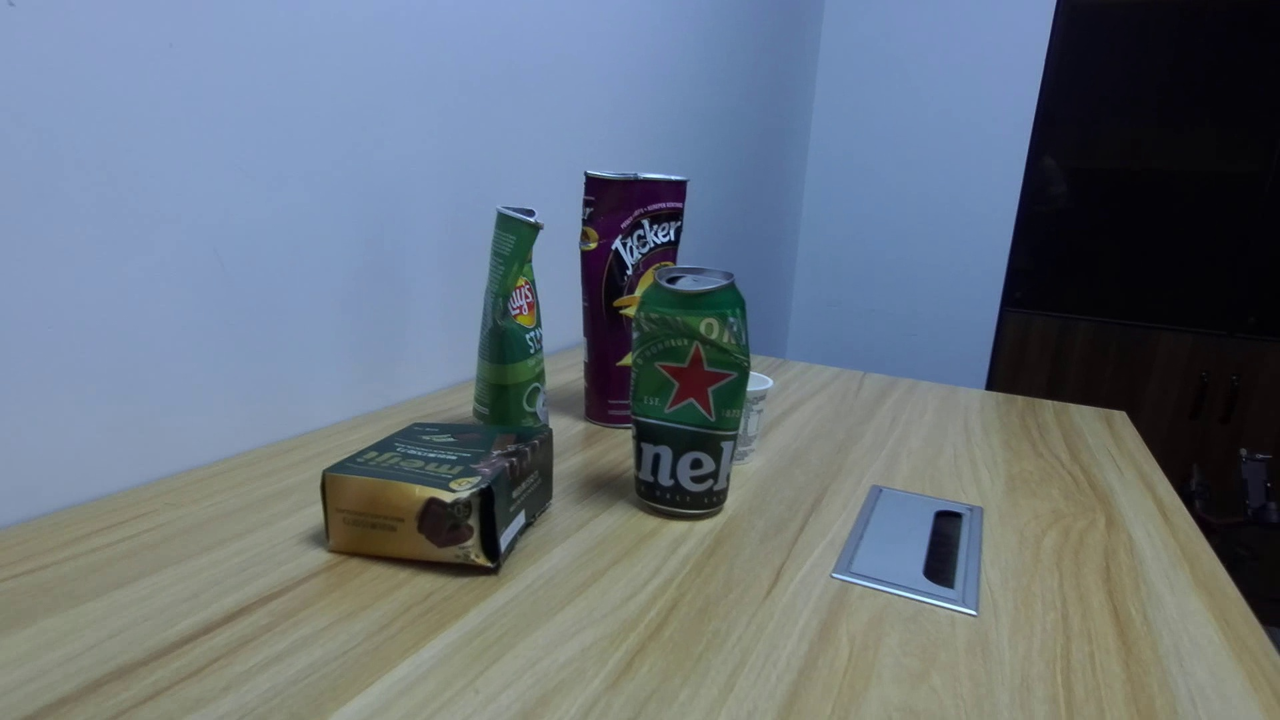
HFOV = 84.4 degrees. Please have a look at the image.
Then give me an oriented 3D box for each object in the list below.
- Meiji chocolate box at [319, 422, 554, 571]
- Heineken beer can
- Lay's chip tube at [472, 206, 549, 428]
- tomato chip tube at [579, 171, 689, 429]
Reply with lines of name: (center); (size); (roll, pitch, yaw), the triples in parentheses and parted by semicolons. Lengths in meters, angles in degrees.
Meiji chocolate box: (-0.126, 0.083, 0.456); (0.115, 0.058, 0.123); (3, 12, 11)
Heineken beer can: (0.033, 0.024, 0.488); (0.069, 0.168, 0.068); (-6, 18, -24)
Lay's chip tube: (-0.102, -0.021, 0.570); (0.069, 0.201, 0.077); (-7, 20, -38)
tomato chip tube: (-0.012, -0.057, 0.672); (0.090, 0.235, 0.078); (7, 19, 2)
